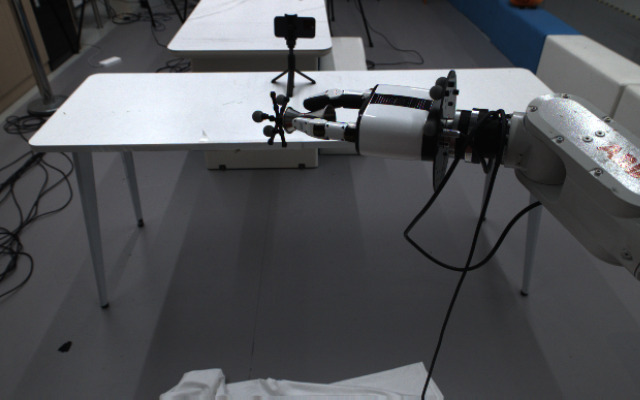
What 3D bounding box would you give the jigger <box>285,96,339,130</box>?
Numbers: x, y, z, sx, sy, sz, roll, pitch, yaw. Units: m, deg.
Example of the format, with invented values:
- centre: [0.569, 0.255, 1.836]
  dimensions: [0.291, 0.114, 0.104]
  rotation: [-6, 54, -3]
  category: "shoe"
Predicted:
- centre: [-0.009, -0.123, 0.707]
  dimensions: [0.071, 0.043, 0.043]
  rotation: [3, 32, 25]
  category: "jigger"
